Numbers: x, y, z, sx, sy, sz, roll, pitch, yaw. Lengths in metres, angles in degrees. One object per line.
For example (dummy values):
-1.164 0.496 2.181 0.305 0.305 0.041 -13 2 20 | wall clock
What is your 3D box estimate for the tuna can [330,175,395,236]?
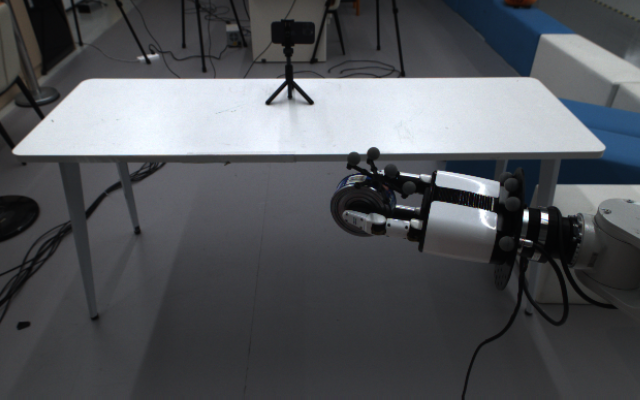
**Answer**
0.061 0.014 0.652 0.085 0.085 0.034 12 35 14 | tuna can
